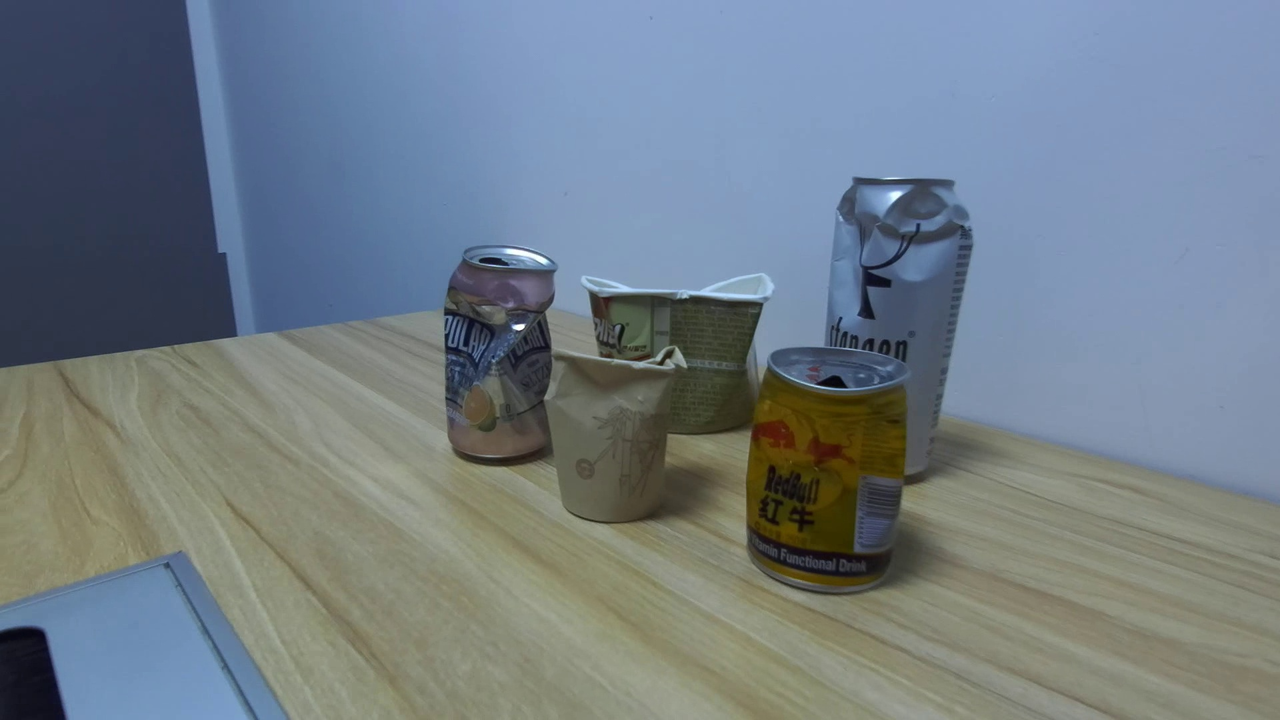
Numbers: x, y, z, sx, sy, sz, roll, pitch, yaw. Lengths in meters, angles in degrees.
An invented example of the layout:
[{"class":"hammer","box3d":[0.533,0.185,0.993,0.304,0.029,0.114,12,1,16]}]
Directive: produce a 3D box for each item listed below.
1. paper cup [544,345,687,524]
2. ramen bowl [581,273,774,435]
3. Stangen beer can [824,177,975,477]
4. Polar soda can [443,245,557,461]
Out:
[{"class":"paper cup","box3d":[-0.011,0.033,0.363,0.066,0.083,0.058,8,16,16]},{"class":"ramen bowl","box3d":[0.025,-0.011,0.498,0.128,0.093,0.111,2,16,4]},{"class":"Stangen beer can","box3d":[0.141,-0.018,0.403,0.066,0.166,0.066,0,16,-6]},{"class":"Polar soda can","box3d":[-0.078,-0.003,0.422,0.067,0.121,0.070,-2,17,-30]}]
